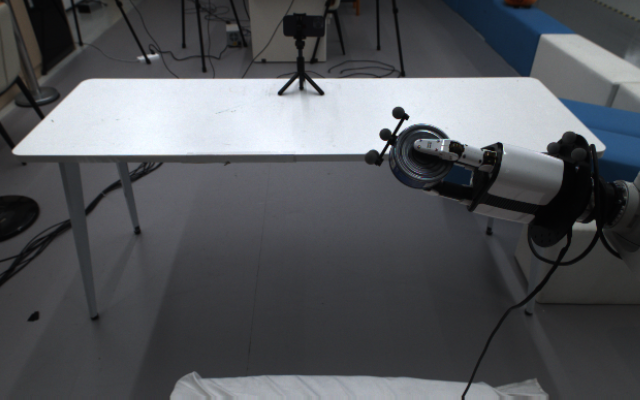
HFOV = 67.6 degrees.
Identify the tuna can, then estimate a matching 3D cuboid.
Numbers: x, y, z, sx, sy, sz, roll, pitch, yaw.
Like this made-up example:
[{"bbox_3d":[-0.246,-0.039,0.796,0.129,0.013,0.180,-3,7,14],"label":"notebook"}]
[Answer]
[{"bbox_3d":[0.142,-0.062,0.667,0.085,0.034,0.085,1,75,-5],"label":"tuna can"}]
